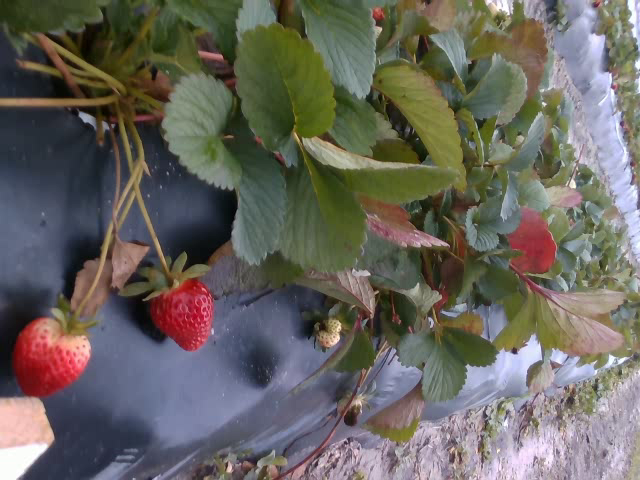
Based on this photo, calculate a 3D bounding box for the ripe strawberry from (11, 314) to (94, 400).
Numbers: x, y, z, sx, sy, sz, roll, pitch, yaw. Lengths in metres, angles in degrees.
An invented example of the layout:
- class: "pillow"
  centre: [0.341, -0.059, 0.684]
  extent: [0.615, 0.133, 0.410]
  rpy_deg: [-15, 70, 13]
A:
- class: "ripe strawberry"
  centre: [-0.123, 0.057, 0.280]
  extent: [0.028, 0.041, 0.036]
  rpy_deg: [35, 5, 38]

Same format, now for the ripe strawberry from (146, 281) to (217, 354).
- class: "ripe strawberry"
  centre: [-0.076, 0.043, 0.343]
  extent: [0.044, 0.059, 0.042]
  rpy_deg: [-15, 36, -18]
